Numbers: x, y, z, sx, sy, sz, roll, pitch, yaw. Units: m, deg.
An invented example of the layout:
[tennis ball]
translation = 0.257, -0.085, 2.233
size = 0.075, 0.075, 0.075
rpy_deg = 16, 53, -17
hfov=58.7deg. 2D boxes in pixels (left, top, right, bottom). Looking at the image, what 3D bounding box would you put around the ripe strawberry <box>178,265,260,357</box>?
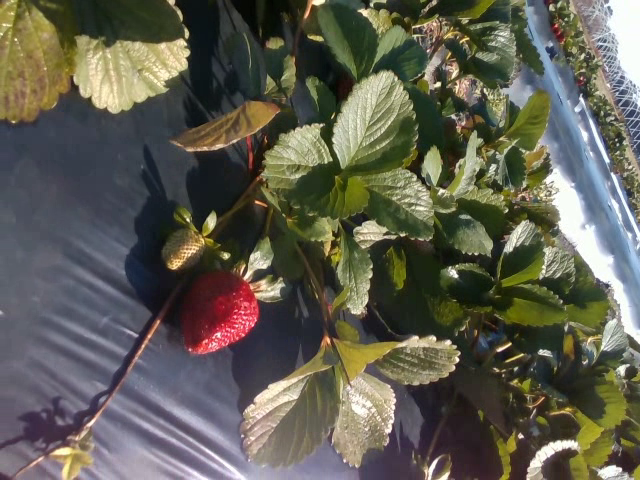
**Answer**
[ripe strawberry]
translation = -0.050, 0.036, 0.265
size = 0.043, 0.042, 0.053
rpy_deg = -19, 29, 15
